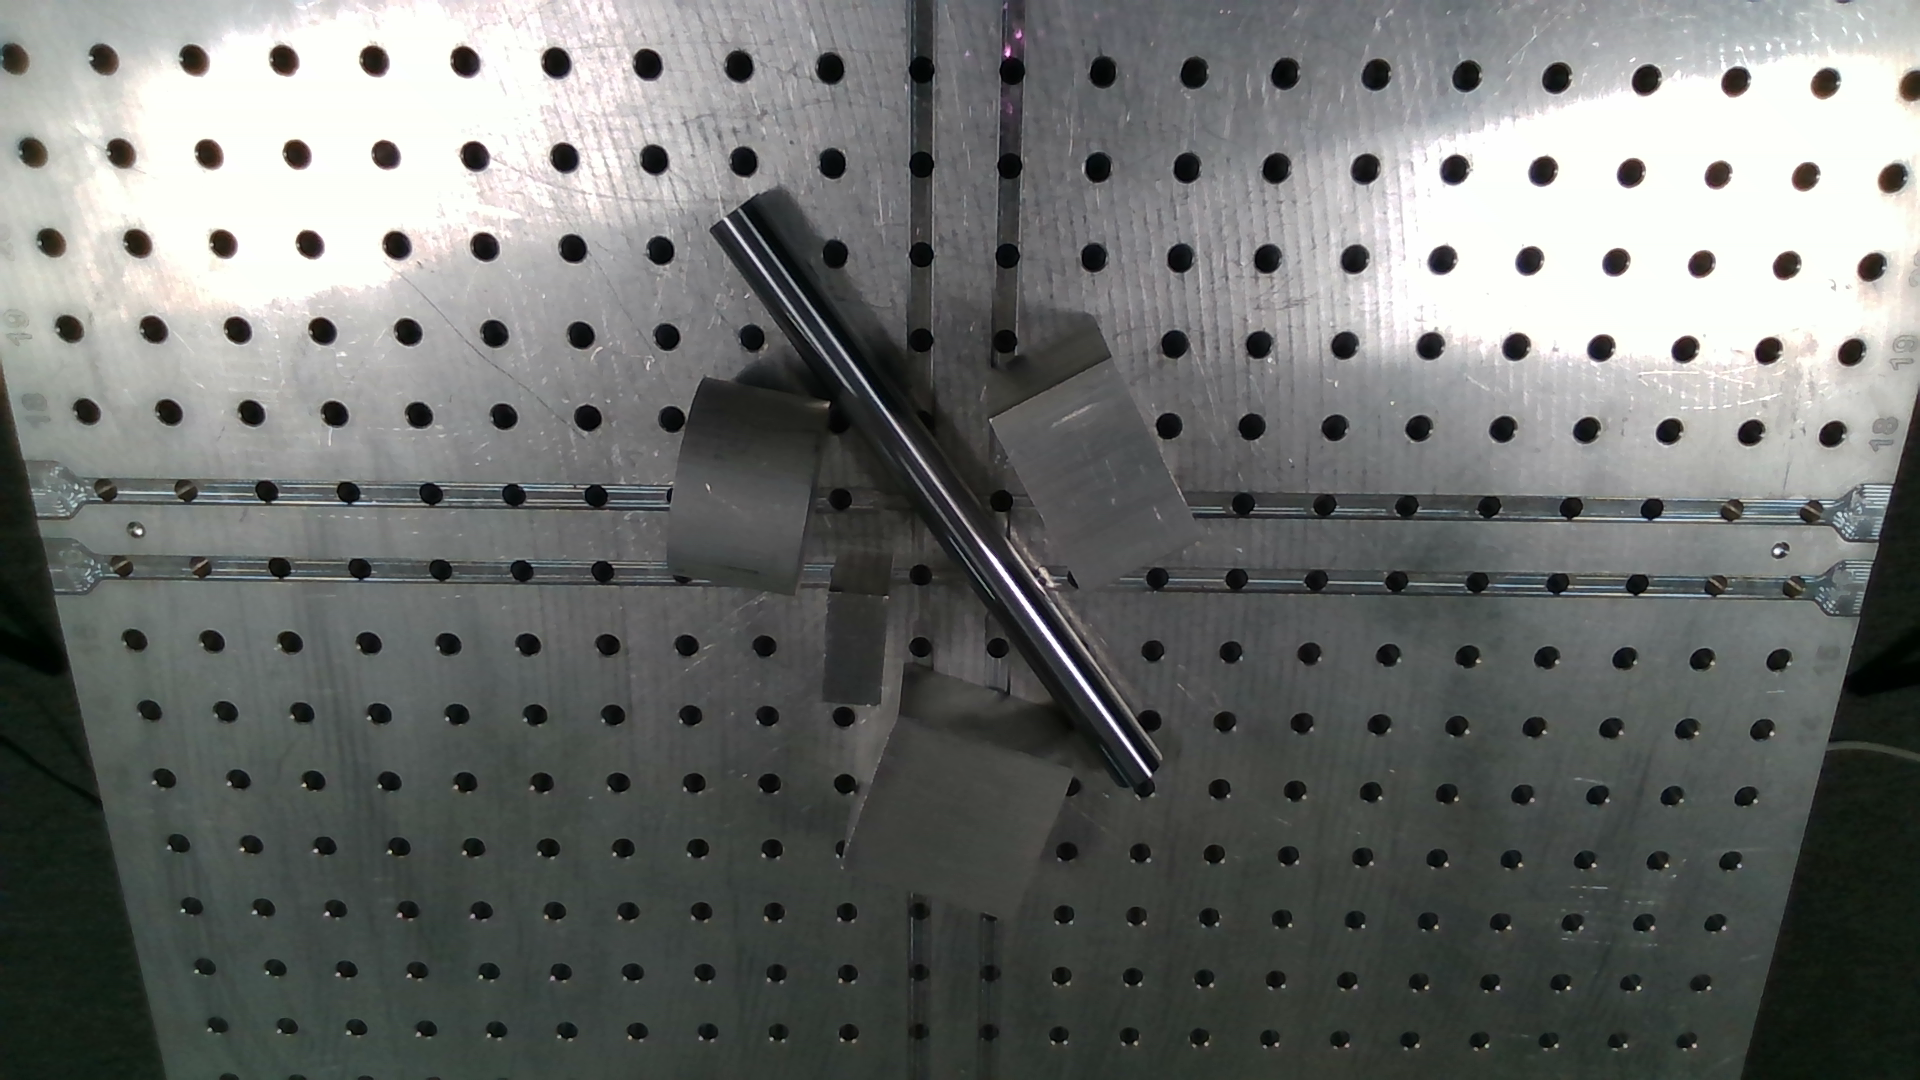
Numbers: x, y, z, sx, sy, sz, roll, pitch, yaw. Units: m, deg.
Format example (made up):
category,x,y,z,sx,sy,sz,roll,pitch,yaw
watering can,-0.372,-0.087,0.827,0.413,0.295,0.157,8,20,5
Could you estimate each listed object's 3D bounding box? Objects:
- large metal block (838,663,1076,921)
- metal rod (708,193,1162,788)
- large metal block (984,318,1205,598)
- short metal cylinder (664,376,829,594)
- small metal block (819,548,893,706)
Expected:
category,x,y,z,sx,sy,sz,roll,pitch,yaw
large metal block,-0.002,0.112,0.612,0.080,0.050,0.080,18,109,-6
metal rod,-0.004,-0.013,0.582,0.025,0.025,0.300,-33,107,11
large metal block,0.051,-0.036,0.545,0.050,0.080,0.080,-27,108,10
short metal cylinder,-0.084,-0.021,0.549,0.050,0.080,0.080,11,110,-4
small metal block,-0.044,0.036,0.588,0.025,0.050,0.050,5,110,-2
